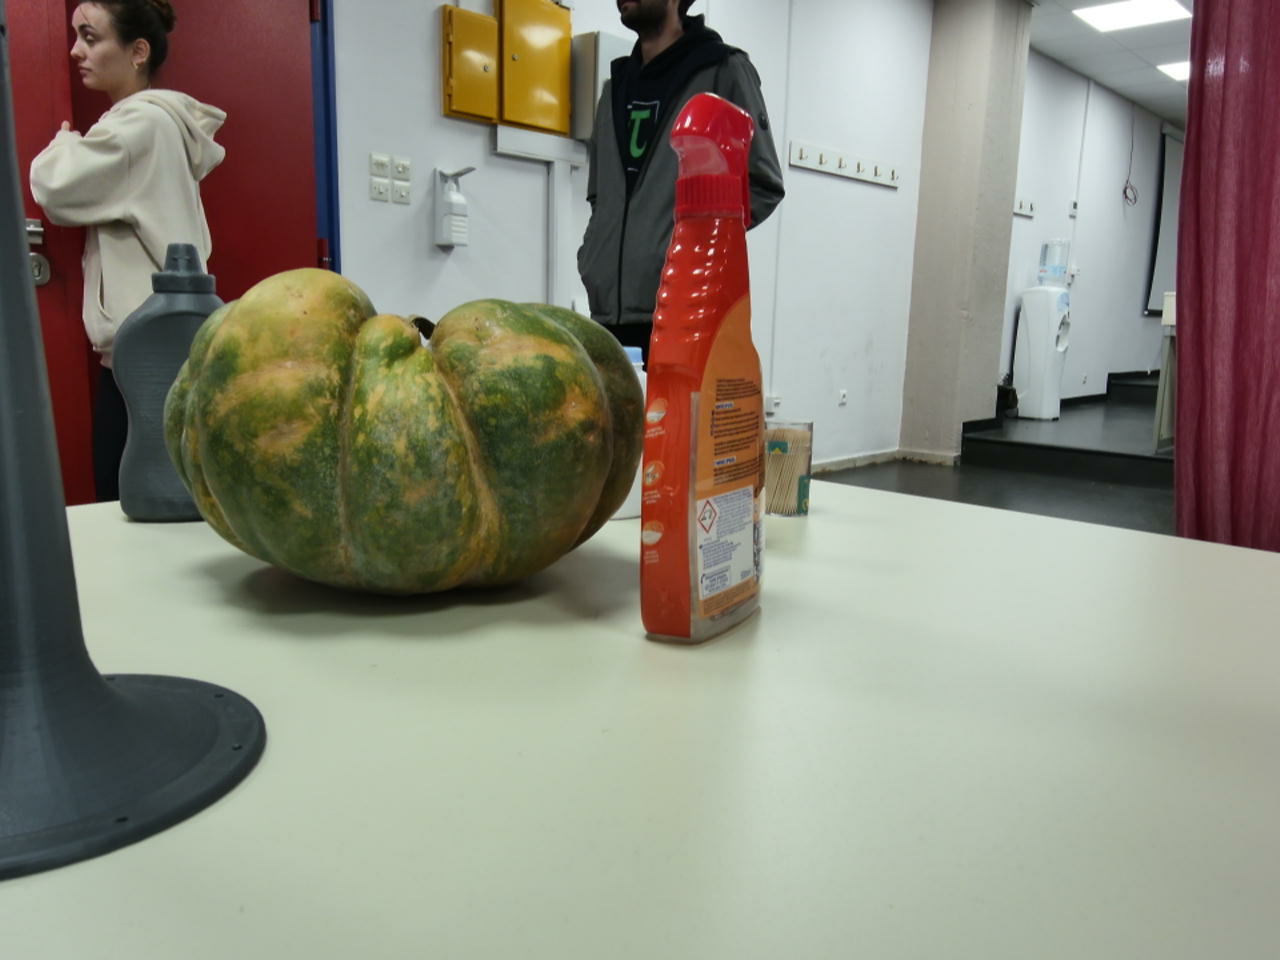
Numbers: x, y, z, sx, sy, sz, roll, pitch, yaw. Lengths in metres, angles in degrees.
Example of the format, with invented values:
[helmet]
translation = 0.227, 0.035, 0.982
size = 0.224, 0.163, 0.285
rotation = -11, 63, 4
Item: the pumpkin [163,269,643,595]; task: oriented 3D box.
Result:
[pumpkin]
translation = -0.134, -0.028, 0.570
size = 0.270, 0.173, 0.237
rotation = -2, 8, -11
